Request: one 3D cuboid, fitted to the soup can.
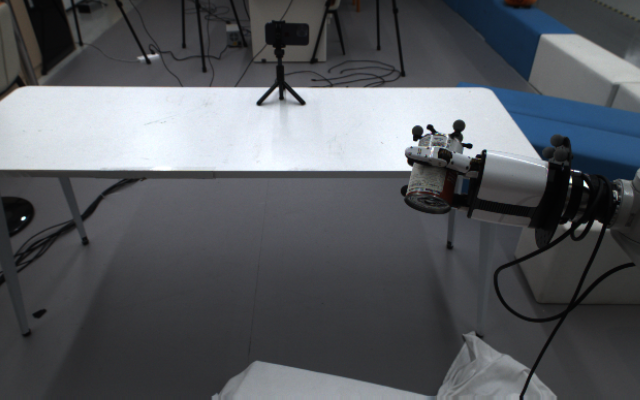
[{"bbox_3d":[0.169,-0.040,0.711,0.067,0.067,0.101,12,70,14],"label":"soup can"}]
